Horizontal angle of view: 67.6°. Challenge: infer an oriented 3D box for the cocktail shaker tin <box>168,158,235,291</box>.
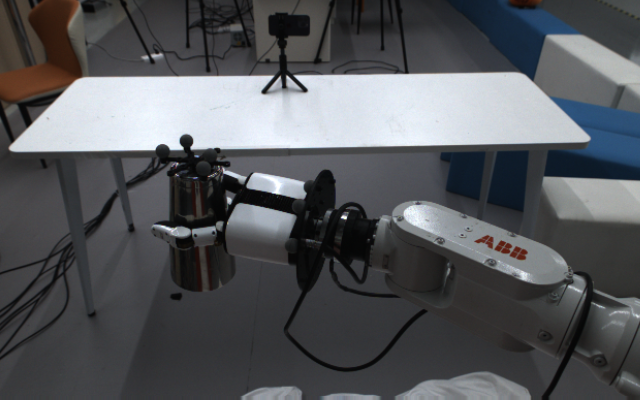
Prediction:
[{"bbox_3d":[-0.162,0.030,0.657,0.093,0.170,0.093,3,32,-2],"label":"cocktail shaker tin"}]
